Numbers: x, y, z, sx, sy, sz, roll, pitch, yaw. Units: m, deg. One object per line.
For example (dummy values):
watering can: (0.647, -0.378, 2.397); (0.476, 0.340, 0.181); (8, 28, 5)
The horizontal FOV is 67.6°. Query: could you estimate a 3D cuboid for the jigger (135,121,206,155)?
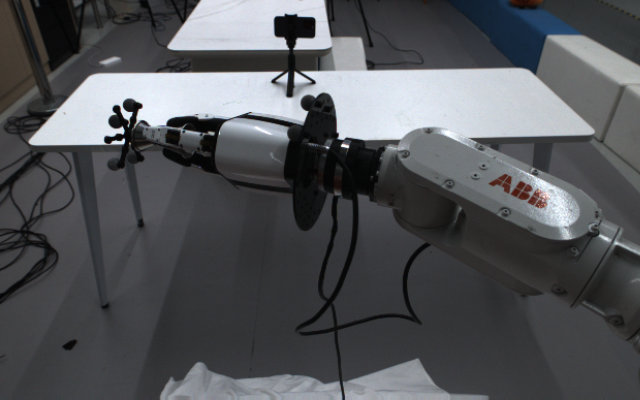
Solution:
jigger: (-0.188, -0.079, 0.606); (0.071, 0.043, 0.043); (7, 35, 13)
